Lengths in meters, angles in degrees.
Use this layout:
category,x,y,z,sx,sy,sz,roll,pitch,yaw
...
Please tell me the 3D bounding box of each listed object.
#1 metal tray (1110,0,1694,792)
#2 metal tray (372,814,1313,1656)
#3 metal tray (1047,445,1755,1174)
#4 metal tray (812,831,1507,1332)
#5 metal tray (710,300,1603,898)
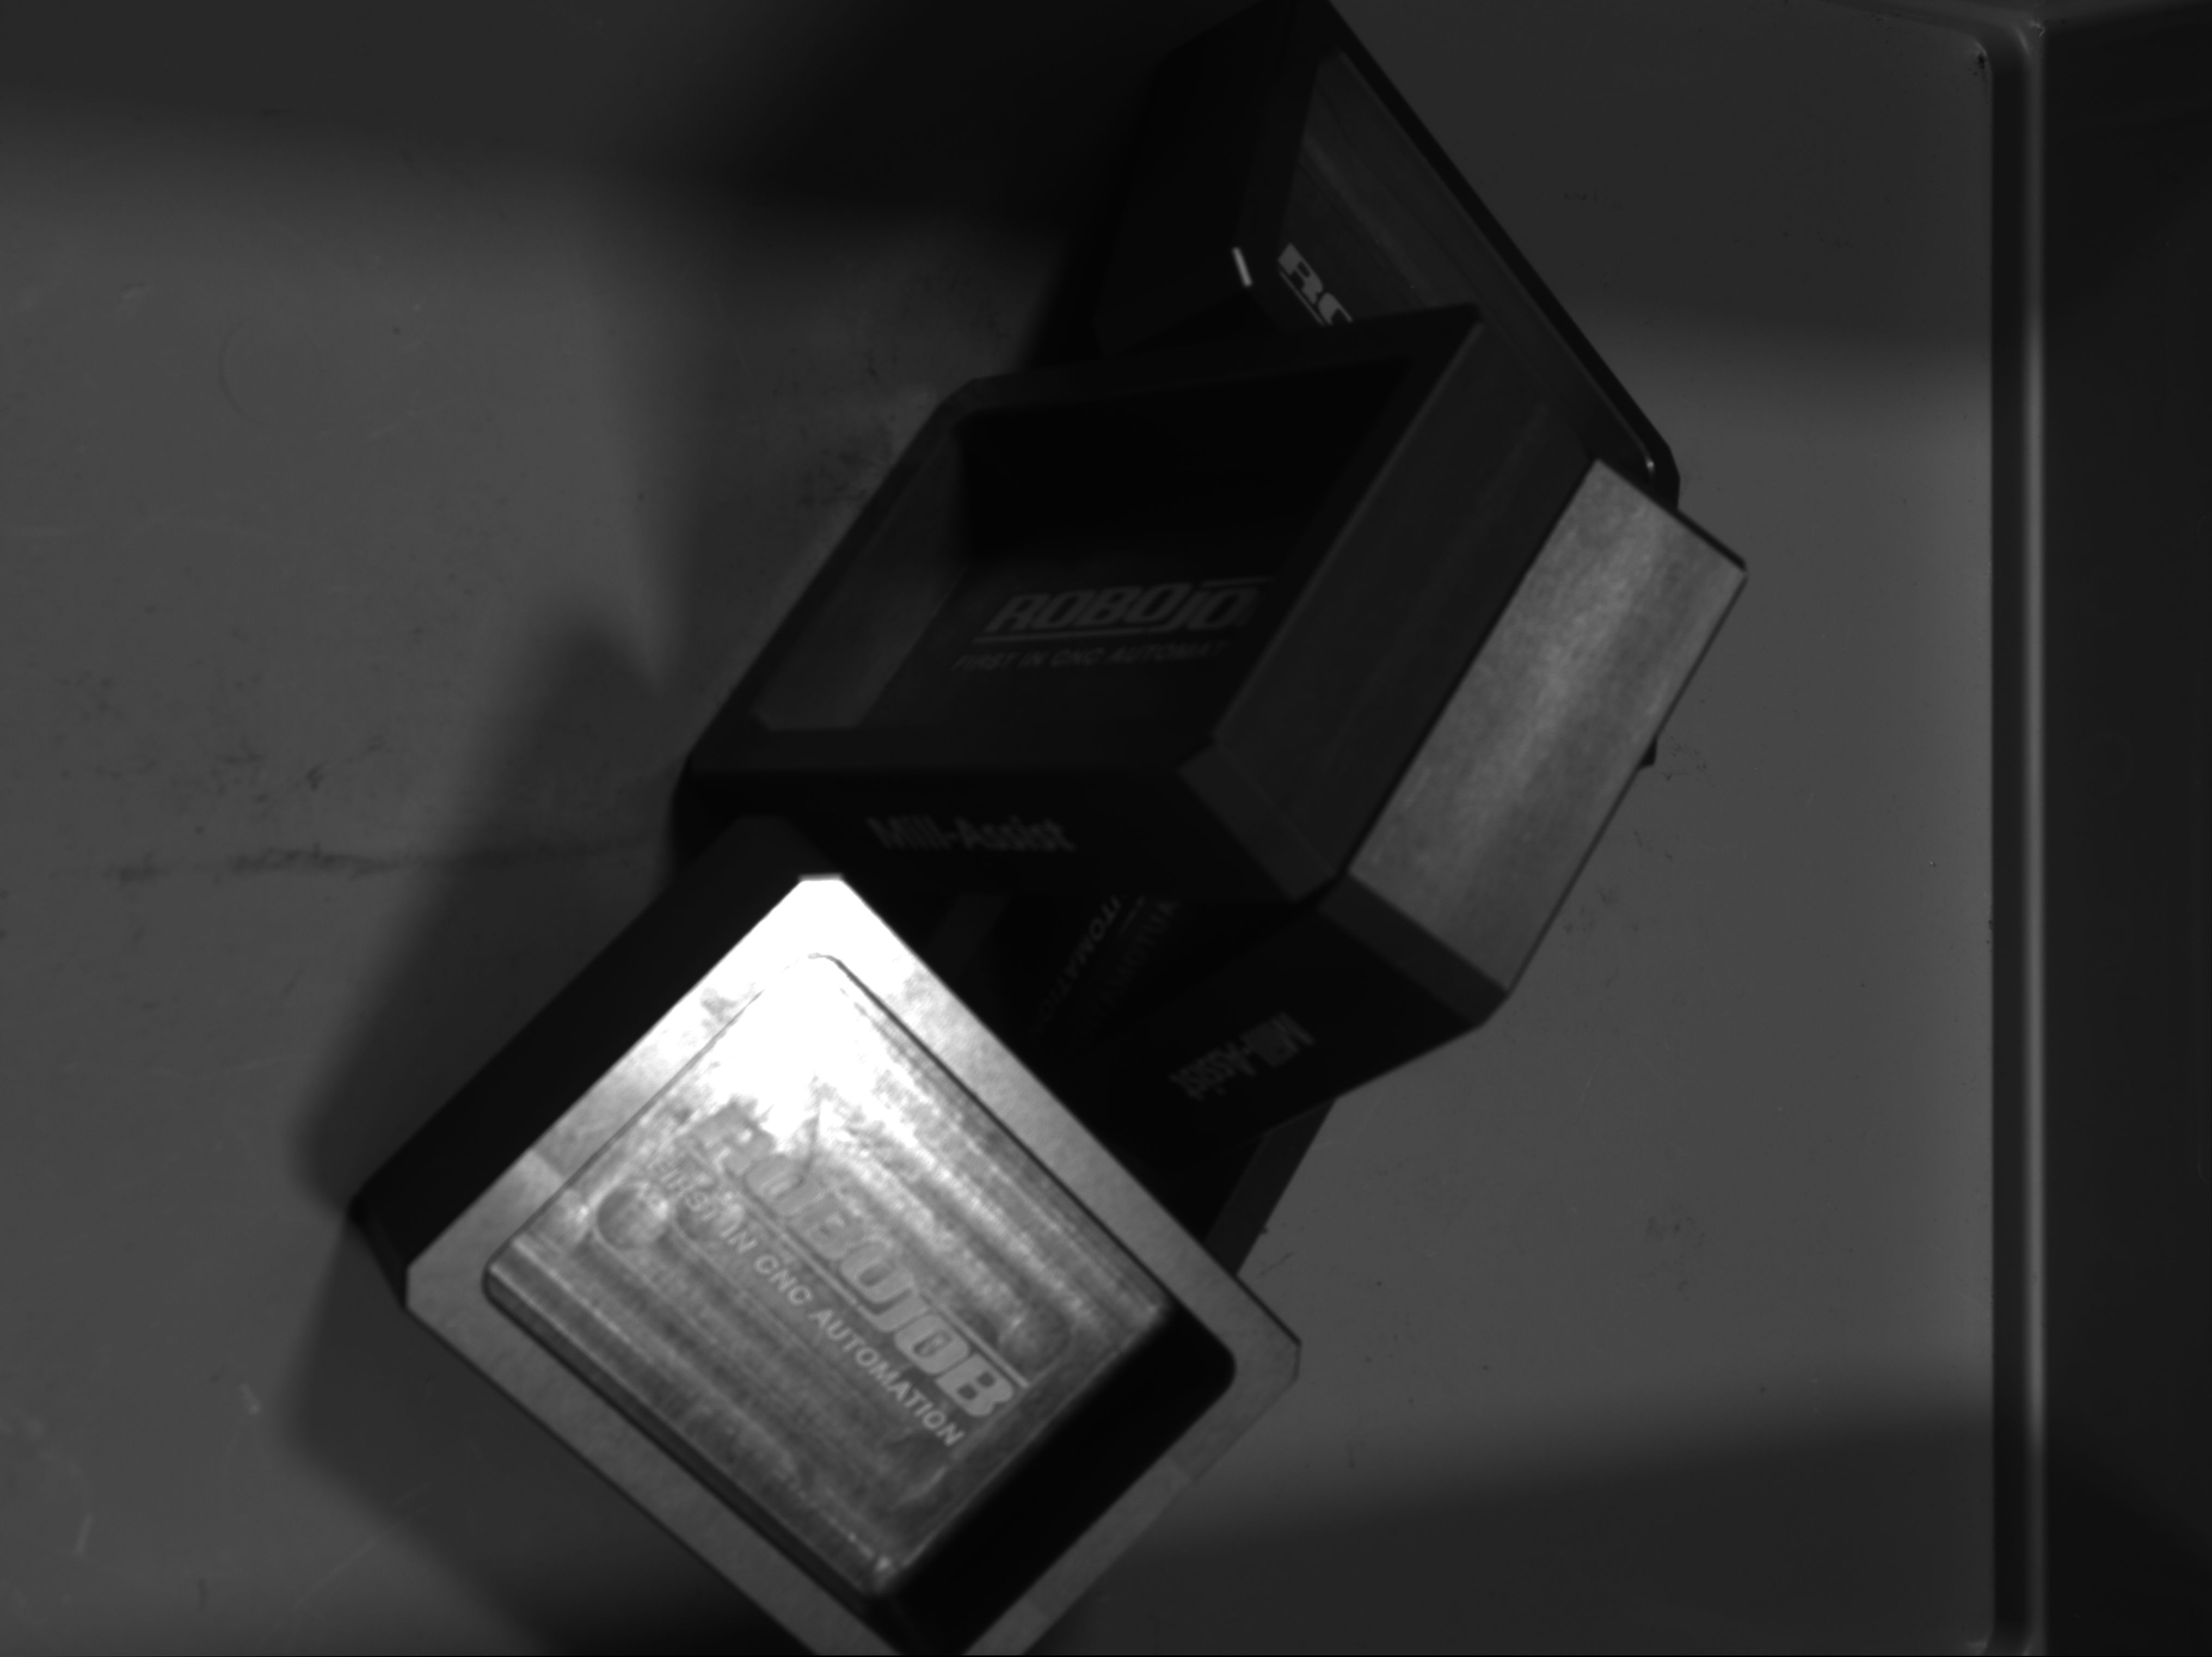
category,x,y,z,sx,sy,sz,roll,pitch,yaw
metal tray,0.057,-0.076,0.658,0.130,0.030,0.090,47,37,-30
metal tray,-0.039,0.072,0.577,0.090,0.030,0.130,-45,120,-4
metal tray,0.043,0.001,0.588,0.030,0.130,0.090,37,65,-8
metal tray,0.014,0.011,0.643,0.090,0.030,0.130,47,62,-30
metal tray,0.005,-0.033,0.570,0.030,0.130,0.090,47,62,-29
